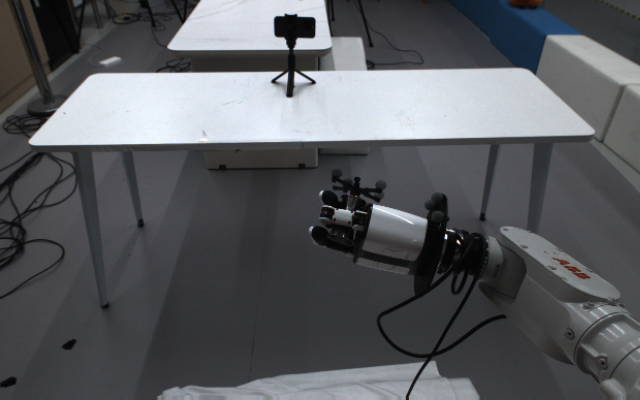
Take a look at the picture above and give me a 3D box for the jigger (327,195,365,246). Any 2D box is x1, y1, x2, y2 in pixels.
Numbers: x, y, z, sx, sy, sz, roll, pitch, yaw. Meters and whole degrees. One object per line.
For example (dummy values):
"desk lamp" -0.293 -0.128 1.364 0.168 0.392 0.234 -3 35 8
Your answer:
"jigger" 0.044 0.030 0.732 0.043 0.043 0.071 12 71 14
